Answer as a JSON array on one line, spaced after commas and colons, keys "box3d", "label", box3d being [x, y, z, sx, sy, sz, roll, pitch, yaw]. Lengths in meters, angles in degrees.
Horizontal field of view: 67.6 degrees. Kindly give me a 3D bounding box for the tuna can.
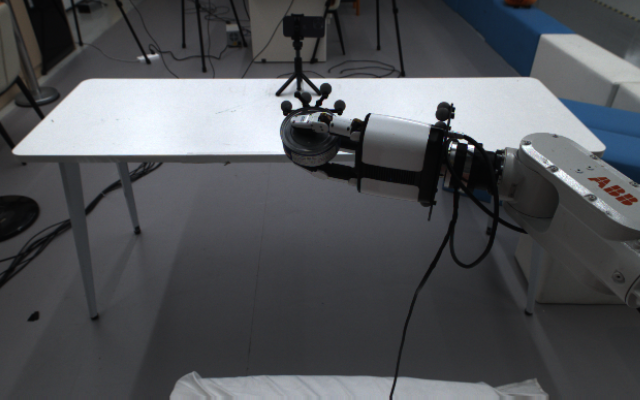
[{"box3d": [-0.012, -0.087, 0.687, 0.085, 0.034, 0.085, -1, 58, 2], "label": "tuna can"}]
